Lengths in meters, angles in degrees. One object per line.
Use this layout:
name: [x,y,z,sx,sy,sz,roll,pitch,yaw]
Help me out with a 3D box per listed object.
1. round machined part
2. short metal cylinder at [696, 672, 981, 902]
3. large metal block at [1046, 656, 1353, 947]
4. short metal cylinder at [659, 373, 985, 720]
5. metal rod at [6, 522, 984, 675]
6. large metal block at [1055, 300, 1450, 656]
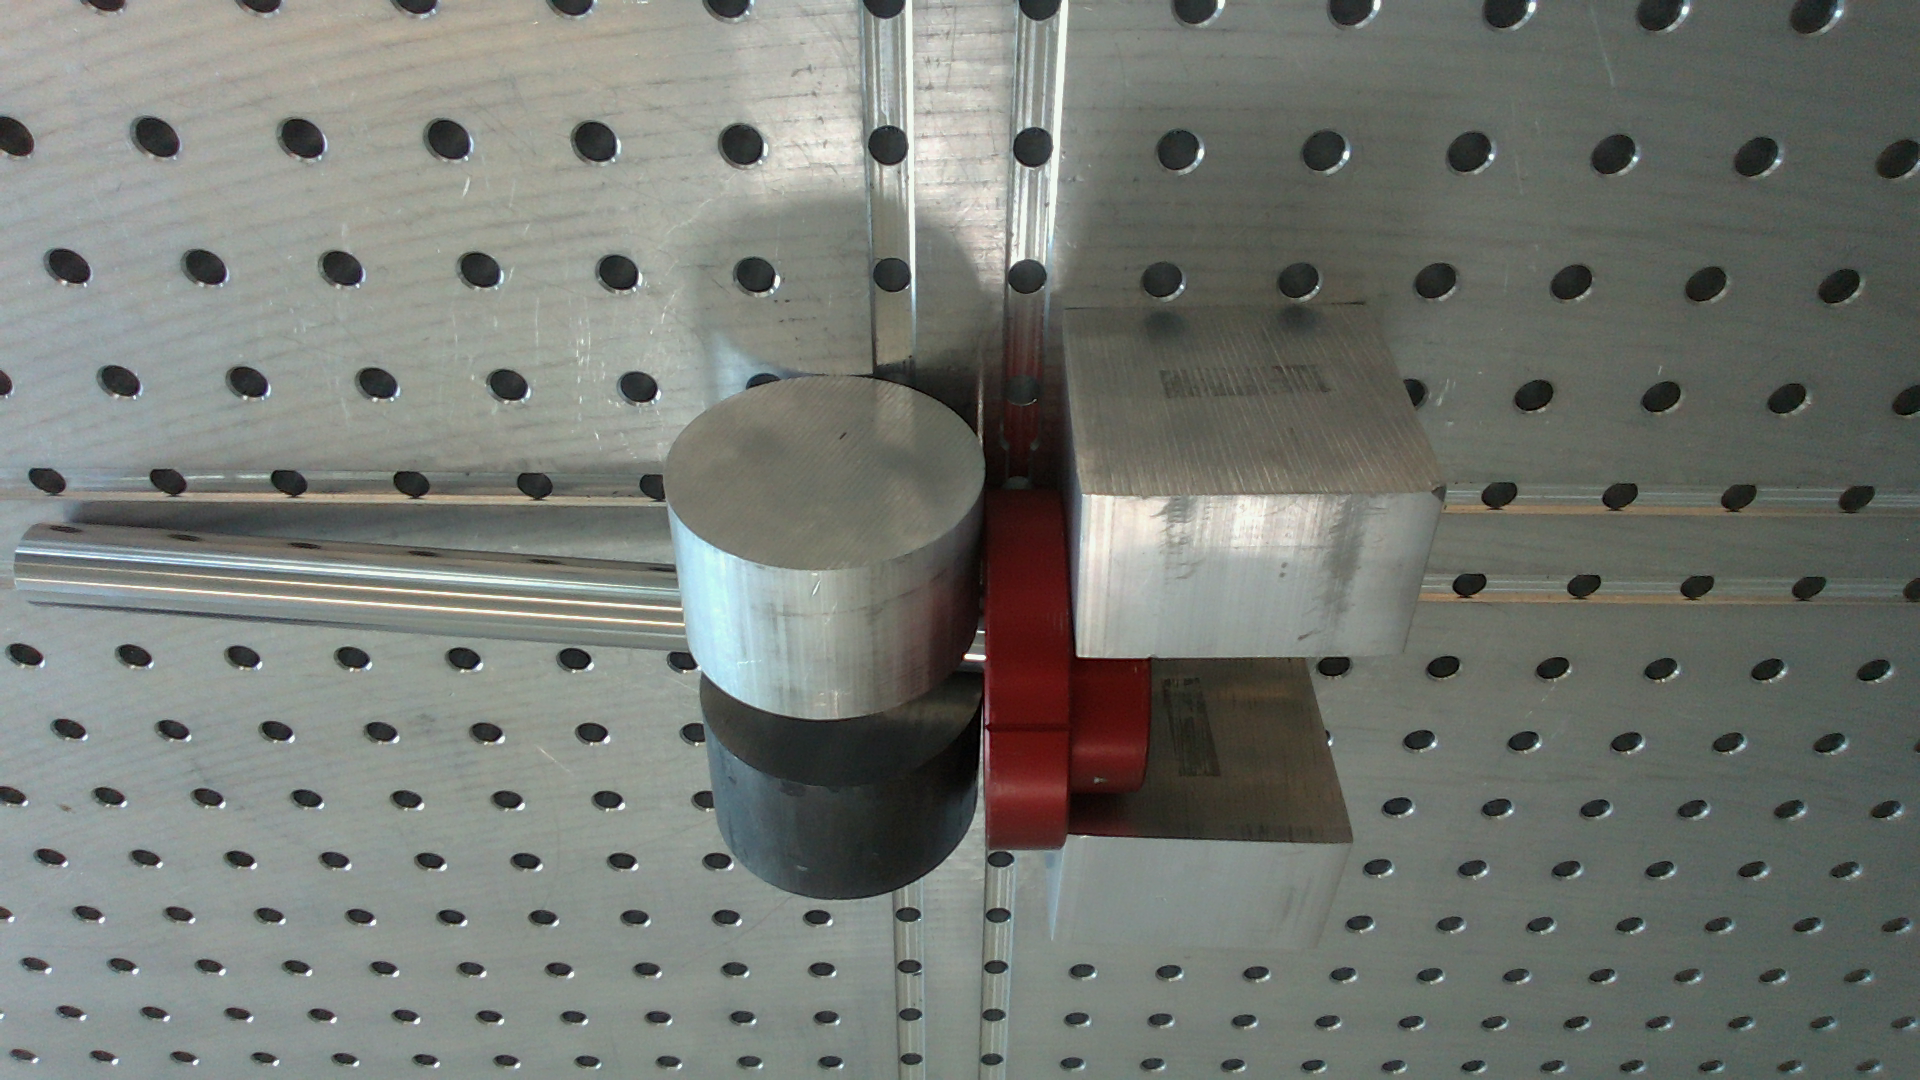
round machined part: [0.028,0.035,0.375,0.042,0.098,0.098,0,130,0]
short metal cylinder: [-0.035,0.058,0.405,0.080,0.080,0.050,1,131,-1]
large metal block: [0.067,0.075,0.422,0.080,0.080,0.050,2,130,-2]
short metal cylinder: [-0.034,0.000,0.357,0.080,0.080,0.050,1,131,-1]
metal rod: [-0.116,0.017,0.392,0.300,0.025,0.025,4,130,2]
large metal block: [0.066,-0.017,0.344,0.080,0.080,0.050,0,130,0]
